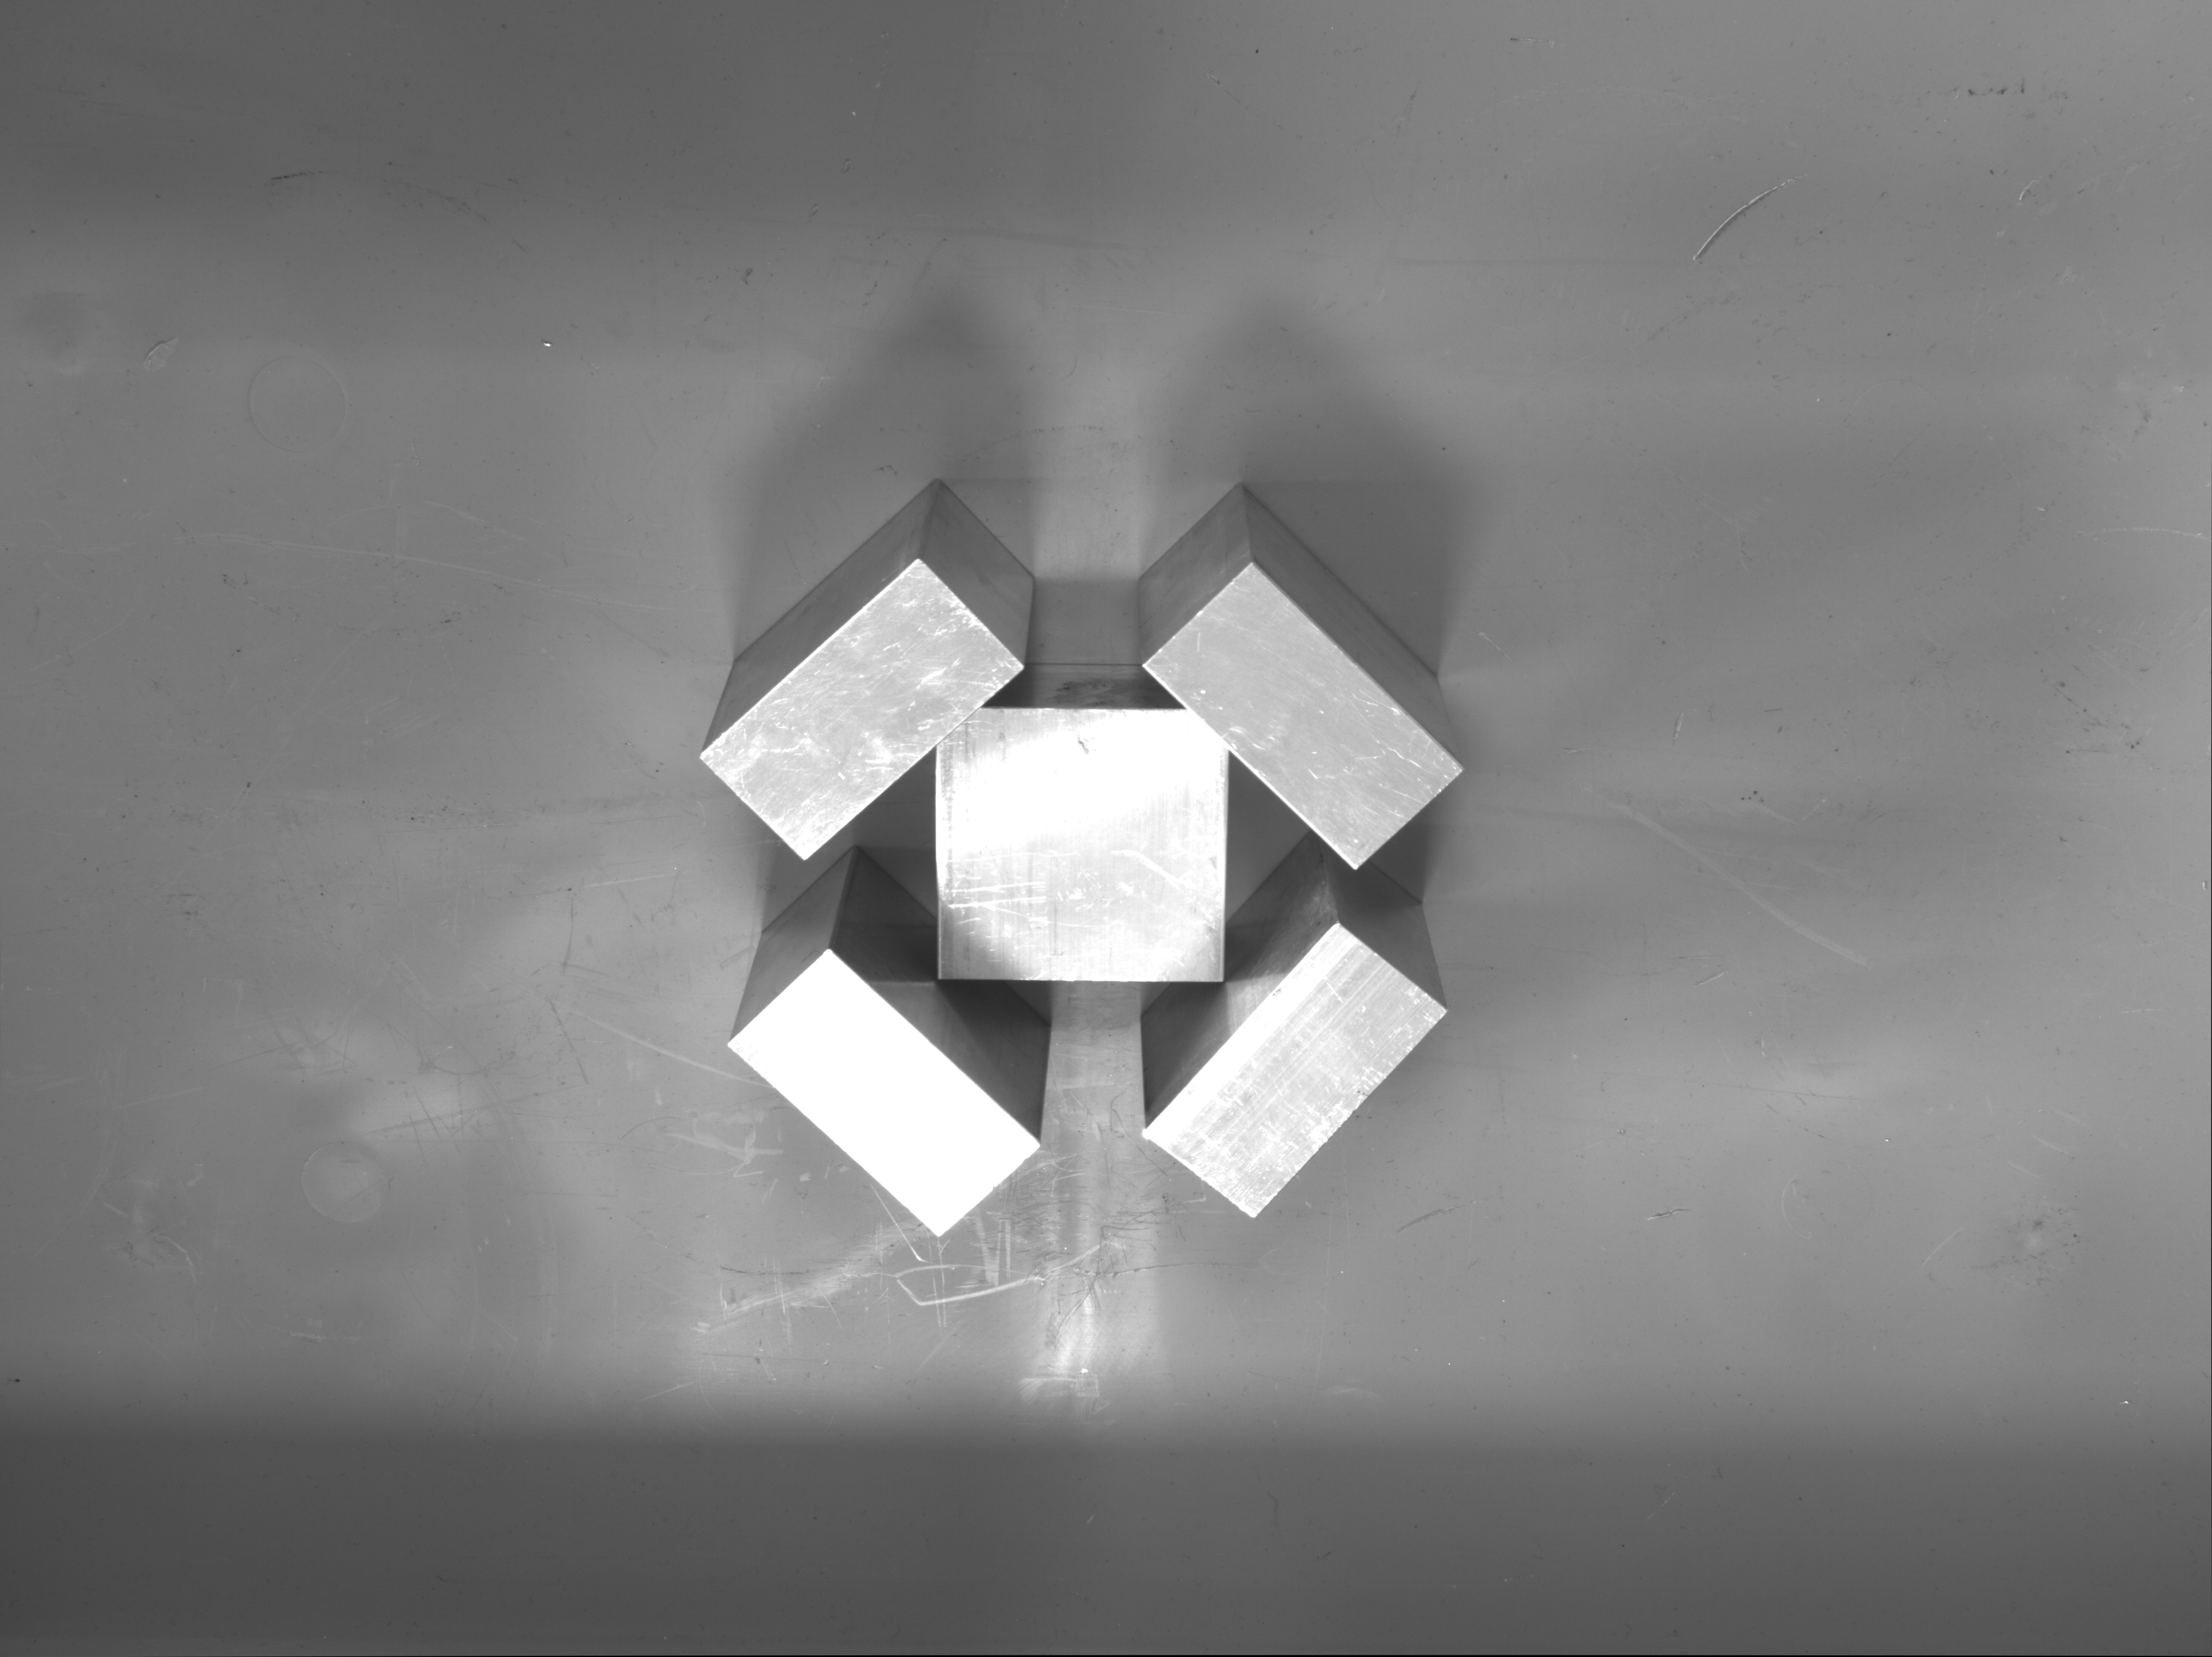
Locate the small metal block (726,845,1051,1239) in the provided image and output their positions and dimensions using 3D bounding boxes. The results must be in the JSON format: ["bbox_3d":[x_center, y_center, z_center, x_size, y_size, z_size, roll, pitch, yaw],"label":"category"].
[{"bbox_3d":[-0.037,0.037,0.642,0.025,0.050,0.050,-43,104,15],"label":"small metal block"}]

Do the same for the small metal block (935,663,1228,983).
[{"bbox_3d":[-0.004,-0.001,0.641,0.050,0.025,0.050,1,110,0],"label":"small metal block"}]

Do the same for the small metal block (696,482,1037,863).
[{"bbox_3d":[-0.039,-0.027,0.618,0.050,0.050,0.025,-40,104,14],"label":"small metal block"}]

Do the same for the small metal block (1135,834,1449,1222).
[{"bbox_3d":[0.031,0.033,0.640,0.025,0.050,0.050,38,105,-13],"label":"small metal block"}]

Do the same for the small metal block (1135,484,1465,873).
[{"bbox_3d":[0.032,-0.026,0.619,0.025,0.050,0.050,-43,105,13],"label":"small metal block"}]
